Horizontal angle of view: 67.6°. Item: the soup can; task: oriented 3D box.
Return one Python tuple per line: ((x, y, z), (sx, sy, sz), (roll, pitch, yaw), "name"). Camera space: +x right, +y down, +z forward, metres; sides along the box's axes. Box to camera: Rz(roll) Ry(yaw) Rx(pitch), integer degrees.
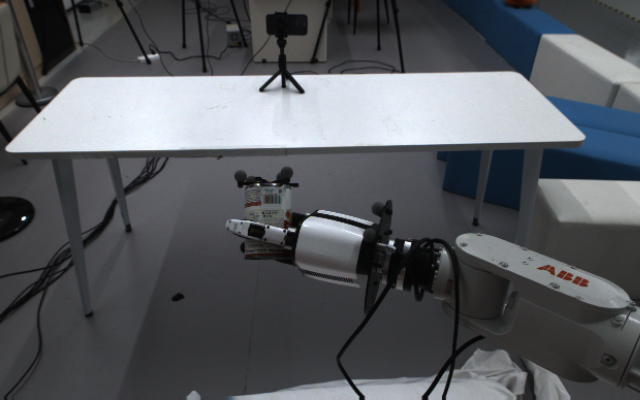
((-0.071, 0.033, 0.678), (0.067, 0.101, 0.067), (-1, -9, 0), "soup can")
